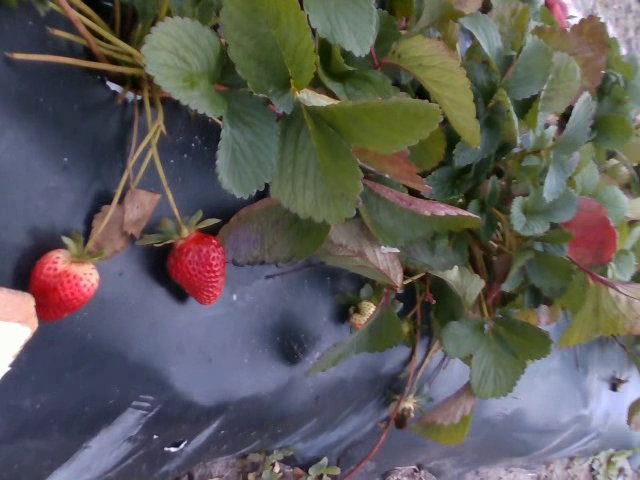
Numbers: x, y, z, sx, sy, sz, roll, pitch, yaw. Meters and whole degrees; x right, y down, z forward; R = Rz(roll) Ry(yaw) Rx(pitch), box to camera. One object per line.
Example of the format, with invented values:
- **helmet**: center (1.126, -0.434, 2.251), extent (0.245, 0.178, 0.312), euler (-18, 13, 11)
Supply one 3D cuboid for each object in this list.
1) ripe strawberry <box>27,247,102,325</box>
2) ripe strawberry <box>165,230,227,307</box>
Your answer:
- **ripe strawberry**: center (-0.130, 0.026, 0.312), extent (0.036, 0.041, 0.028), euler (27, 6, -40)
- **ripe strawberry**: center (-0.072, 0.017, 0.367), extent (0.044, 0.059, 0.042), euler (-13, 28, -9)
